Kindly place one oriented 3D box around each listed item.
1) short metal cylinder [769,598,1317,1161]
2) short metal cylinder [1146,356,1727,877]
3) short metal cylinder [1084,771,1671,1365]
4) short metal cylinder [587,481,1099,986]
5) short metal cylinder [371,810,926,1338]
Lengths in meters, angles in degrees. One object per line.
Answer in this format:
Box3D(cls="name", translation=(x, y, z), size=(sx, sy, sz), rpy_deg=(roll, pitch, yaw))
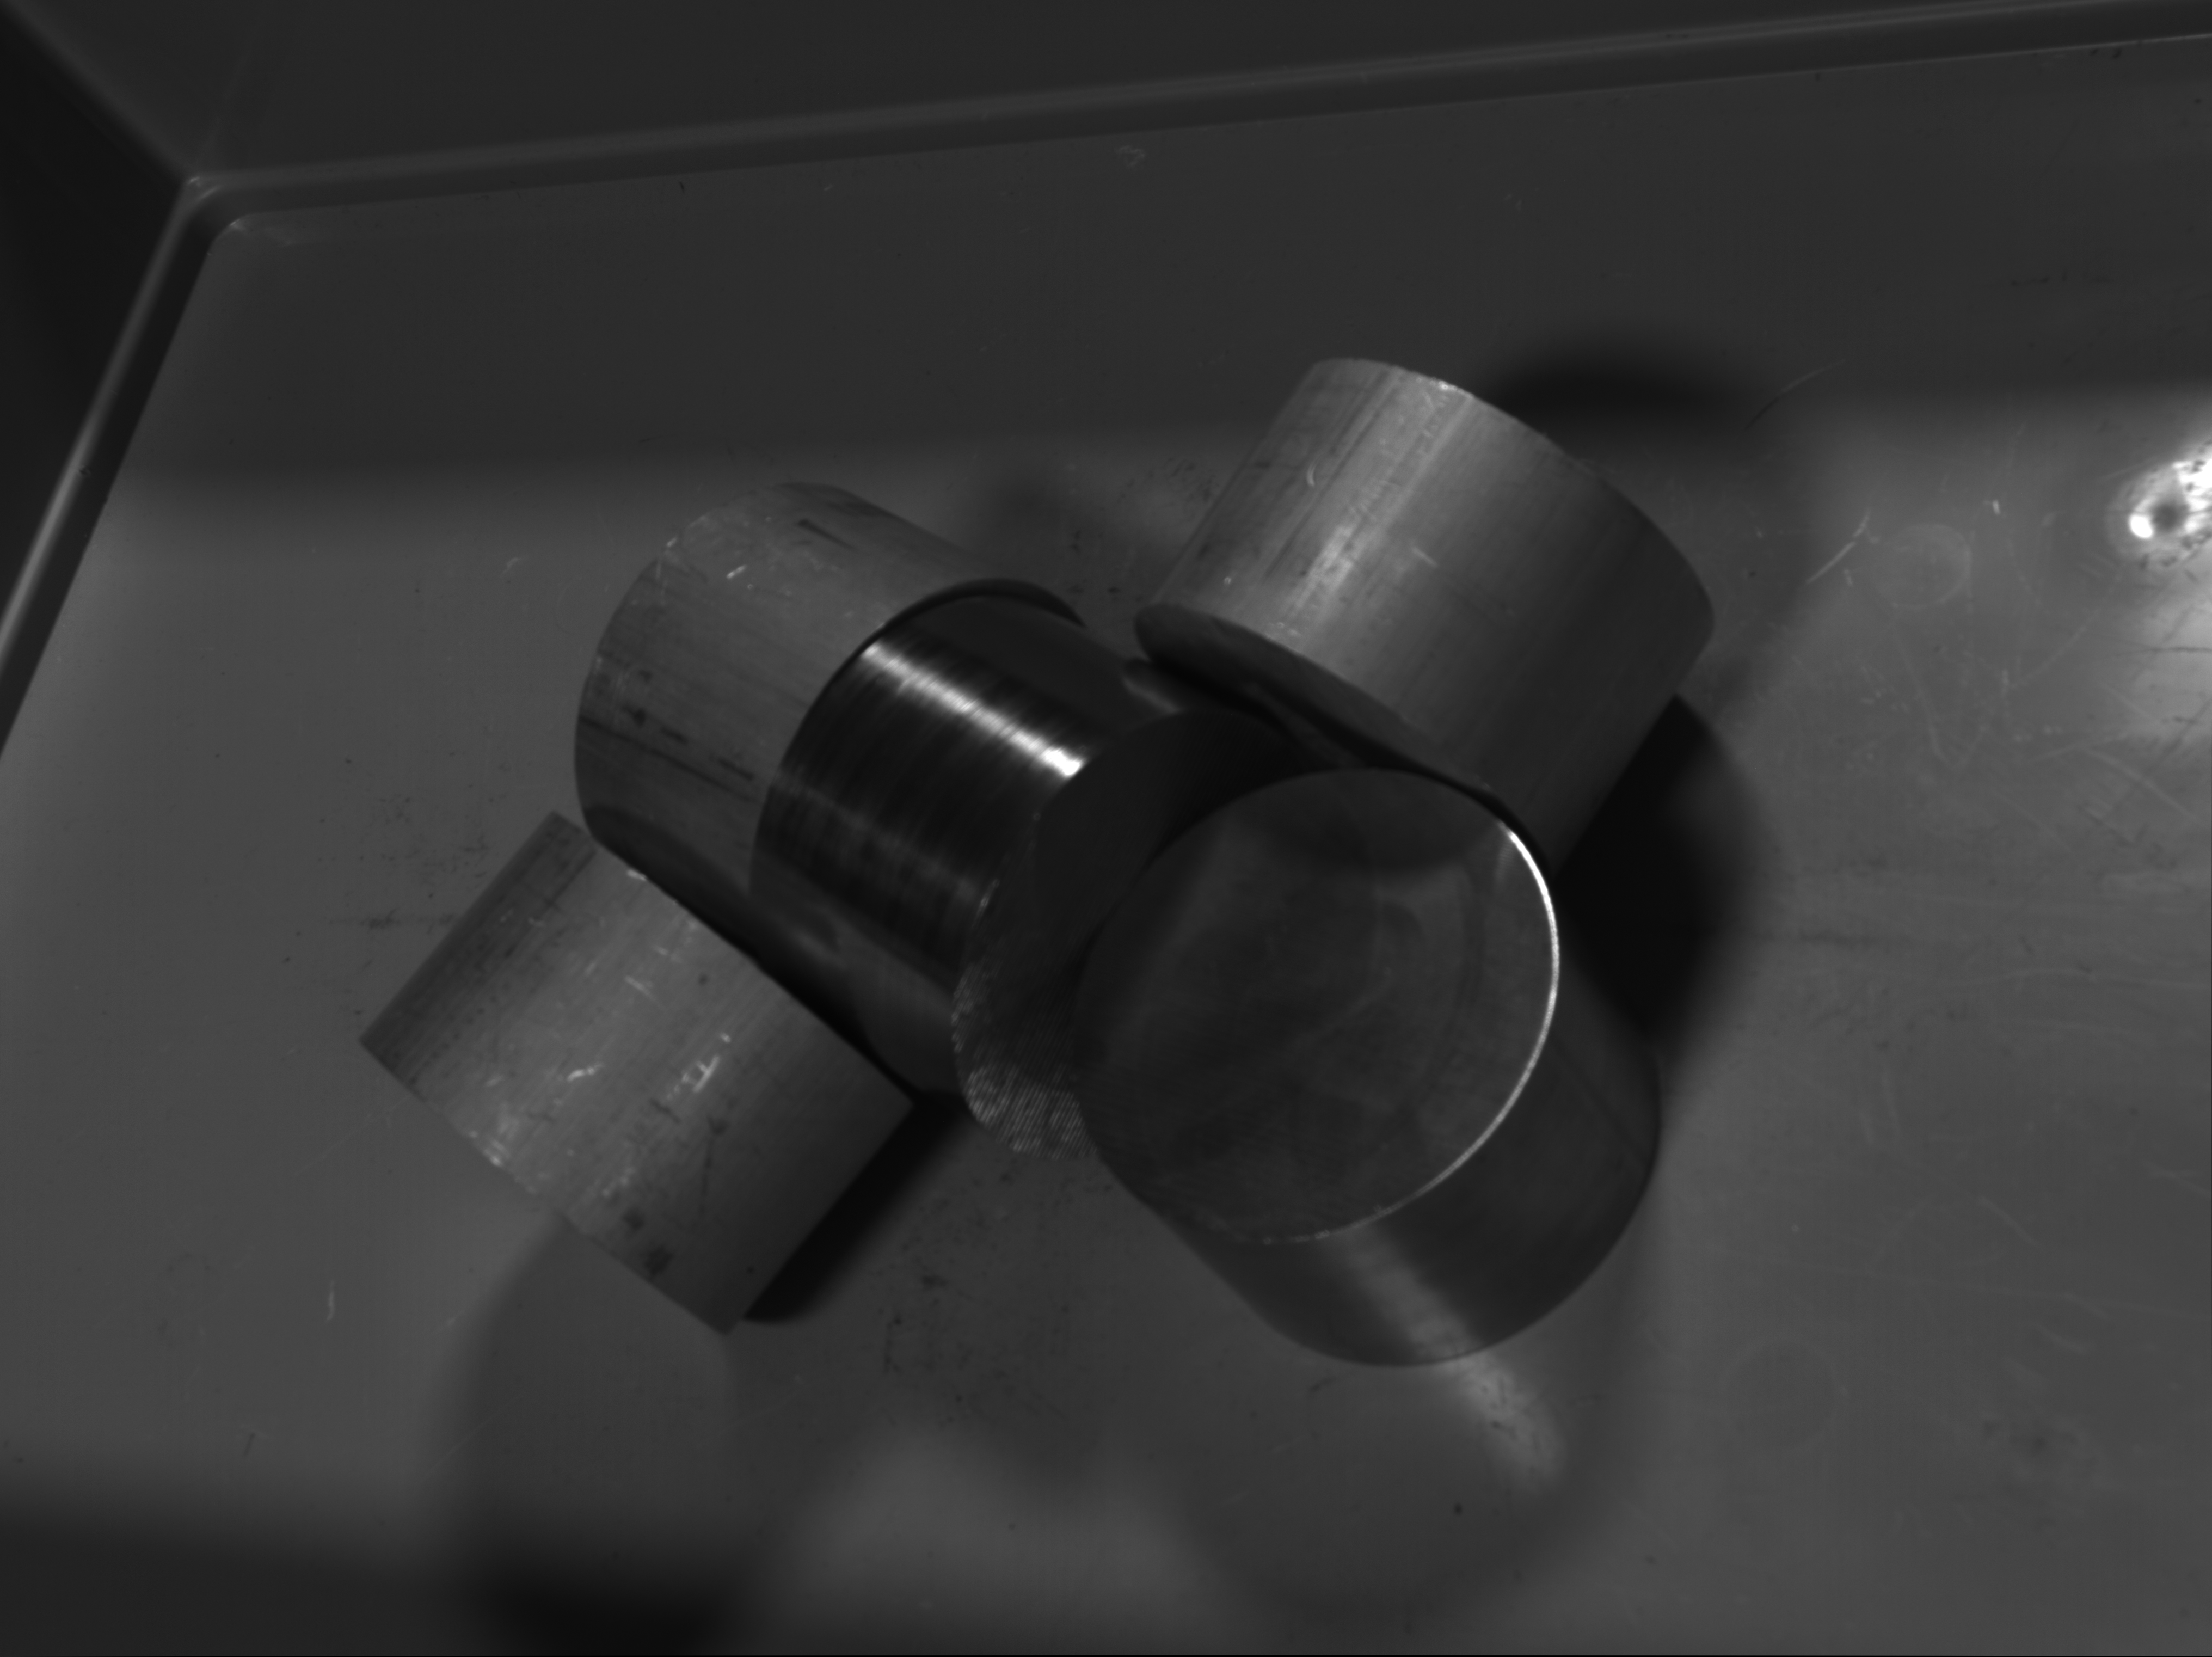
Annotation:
Box3D(cls="short metal cylinder", translation=(-0.009, 0.008, 0.608), size=(0.050, 0.080, 0.080), rpy_deg=(30, 78, 38))
Box3D(cls="short metal cylinder", translation=(0.054, -0.032, 0.598), size=(0.080, 0.080, 0.050), rpy_deg=(26, 76, 37))
Box3D(cls="short metal cylinder", translation=(0.043, 0.038, 0.579), size=(0.080, 0.050, 0.080), rpy_deg=(-13, 56, 21))
Box3D(cls="short metal cylinder", translation=(-0.043, -0.015, 0.639), size=(0.050, 0.080, 0.080), rpy_deg=(29, 77, 38))
Box3D(cls="short metal cylinder", translation=(-0.078, 0.042, 0.623), size=(0.080, 0.080, 0.050), rpy_deg=(33, 80, 38))
